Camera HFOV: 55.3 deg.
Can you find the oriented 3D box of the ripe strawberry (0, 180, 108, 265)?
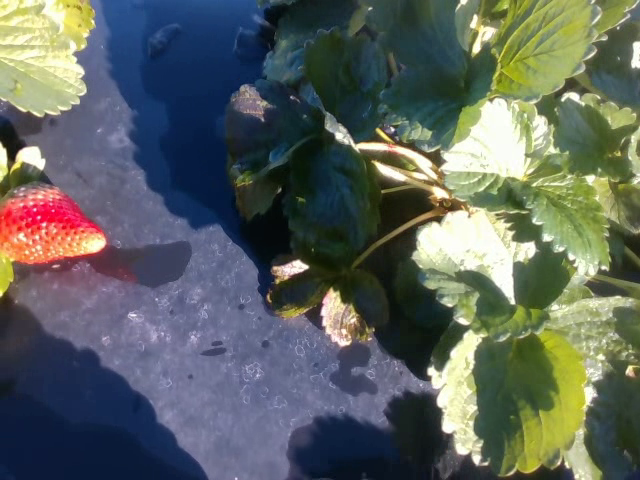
[{"bbox_3d":[-0.130,-0.005,0.301,0.064,0.050,0.052,13,15,10],"label":"ripe strawberry"}]
